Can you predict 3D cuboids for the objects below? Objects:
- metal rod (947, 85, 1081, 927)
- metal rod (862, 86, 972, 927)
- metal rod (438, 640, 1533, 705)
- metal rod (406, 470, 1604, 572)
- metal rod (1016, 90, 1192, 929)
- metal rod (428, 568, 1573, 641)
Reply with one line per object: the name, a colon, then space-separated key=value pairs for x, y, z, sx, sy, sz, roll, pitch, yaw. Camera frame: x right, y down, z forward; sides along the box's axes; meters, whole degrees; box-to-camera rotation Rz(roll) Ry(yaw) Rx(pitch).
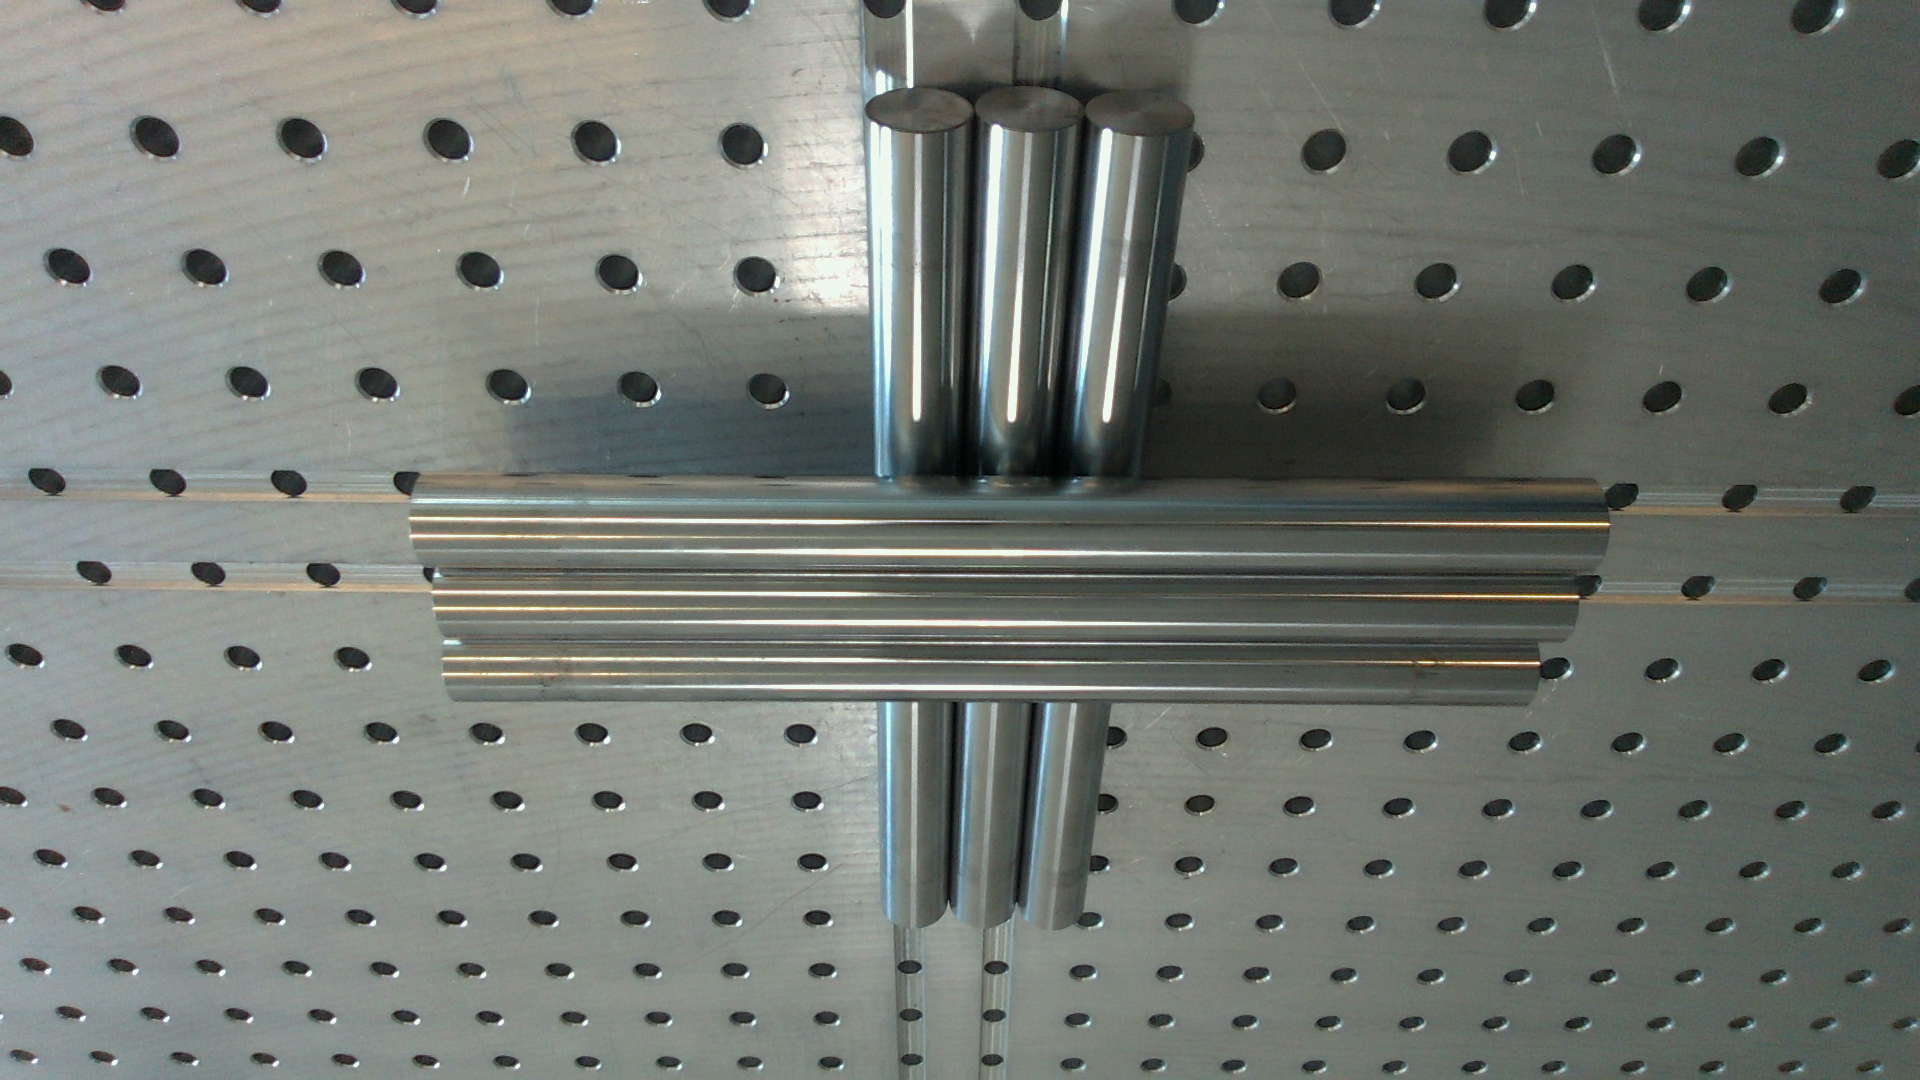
metal rod: x=0.011 y=0.017 z=0.408 sx=0.025 sy=0.025 sz=0.300 roll=1 pitch=130 yaw=-1
metal rod: x=-0.014 y=0.017 z=0.408 sx=0.025 sy=0.025 sz=0.300 roll=1 pitch=130 yaw=-1
metal rod: x=0.008 y=0.034 z=0.389 sx=0.300 sy=0.025 sz=0.025 roll=0 pitch=130 yaw=-1
metal rod: x=0.012 y=-0.005 z=0.357 sx=0.300 sy=0.025 sz=0.025 roll=0 pitch=130 yaw=-1
metal rod: x=0.036 y=0.017 z=0.409 sx=0.025 sy=0.025 sz=0.300 roll=1 pitch=130 yaw=-1
metal rod: x=0.011 y=0.014 z=0.373 sx=0.300 sy=0.025 sz=0.025 roll=0 pitch=130 yaw=-1
